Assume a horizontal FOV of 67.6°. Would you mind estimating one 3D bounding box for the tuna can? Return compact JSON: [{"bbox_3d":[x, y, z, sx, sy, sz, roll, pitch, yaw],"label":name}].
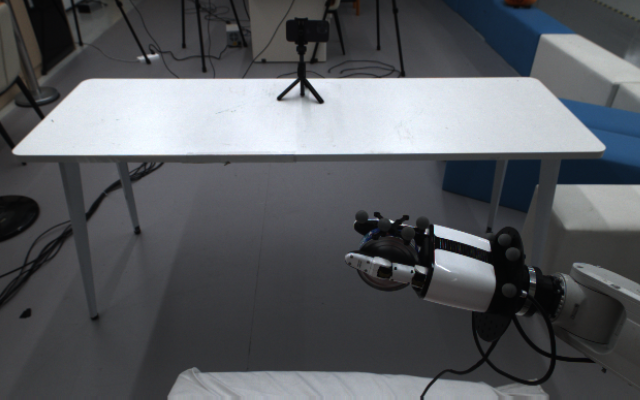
[{"bbox_3d":[0.095,0.080,0.661,0.085,0.085,0.034,7,21,7],"label":"tuna can"}]
